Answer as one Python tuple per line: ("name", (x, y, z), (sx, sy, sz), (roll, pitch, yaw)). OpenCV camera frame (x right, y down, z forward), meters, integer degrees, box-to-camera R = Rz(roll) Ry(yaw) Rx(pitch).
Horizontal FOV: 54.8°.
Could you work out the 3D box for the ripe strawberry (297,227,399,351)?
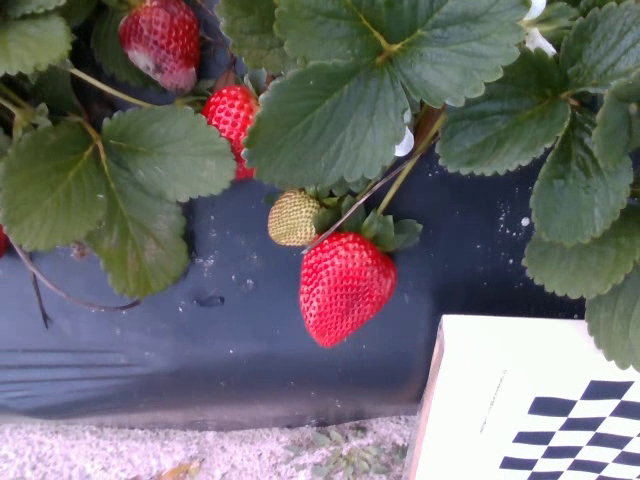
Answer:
("ripe strawberry", (0.011, 0.030, 0.321), (0.057, 0.065, 0.056), (-11, -37, 45))
